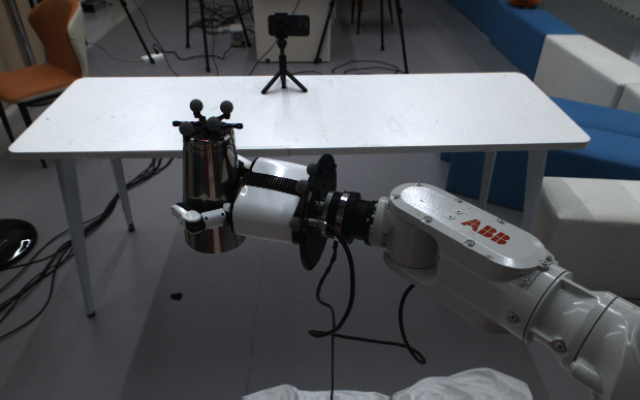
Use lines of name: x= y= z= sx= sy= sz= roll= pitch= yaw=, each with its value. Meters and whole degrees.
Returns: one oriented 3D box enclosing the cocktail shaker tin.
cocktail shaker tin: x=-0.148 y=-0.020 z=0.674 sx=0.093 sy=0.170 sz=0.093 roll=3 pitch=35 yaw=-2
